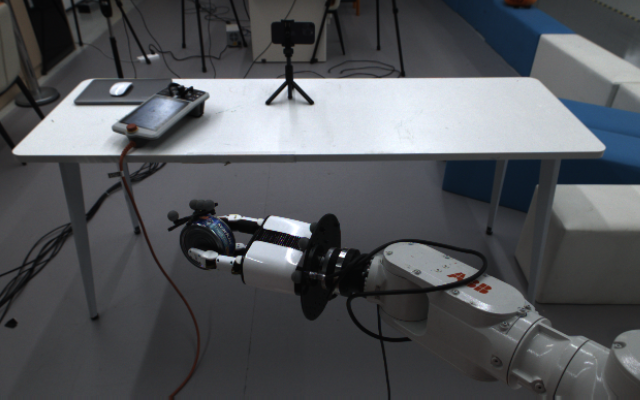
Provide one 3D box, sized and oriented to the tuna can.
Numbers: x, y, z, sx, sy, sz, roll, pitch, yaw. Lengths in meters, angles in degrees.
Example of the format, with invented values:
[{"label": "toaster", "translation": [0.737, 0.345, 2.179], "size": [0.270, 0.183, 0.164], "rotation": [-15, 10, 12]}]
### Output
[{"label": "tuna can", "translation": [-0.178, 0.069, 0.770], "size": [0.085, 0.085, 0.034], "rotation": [15, 30, 17]}]
